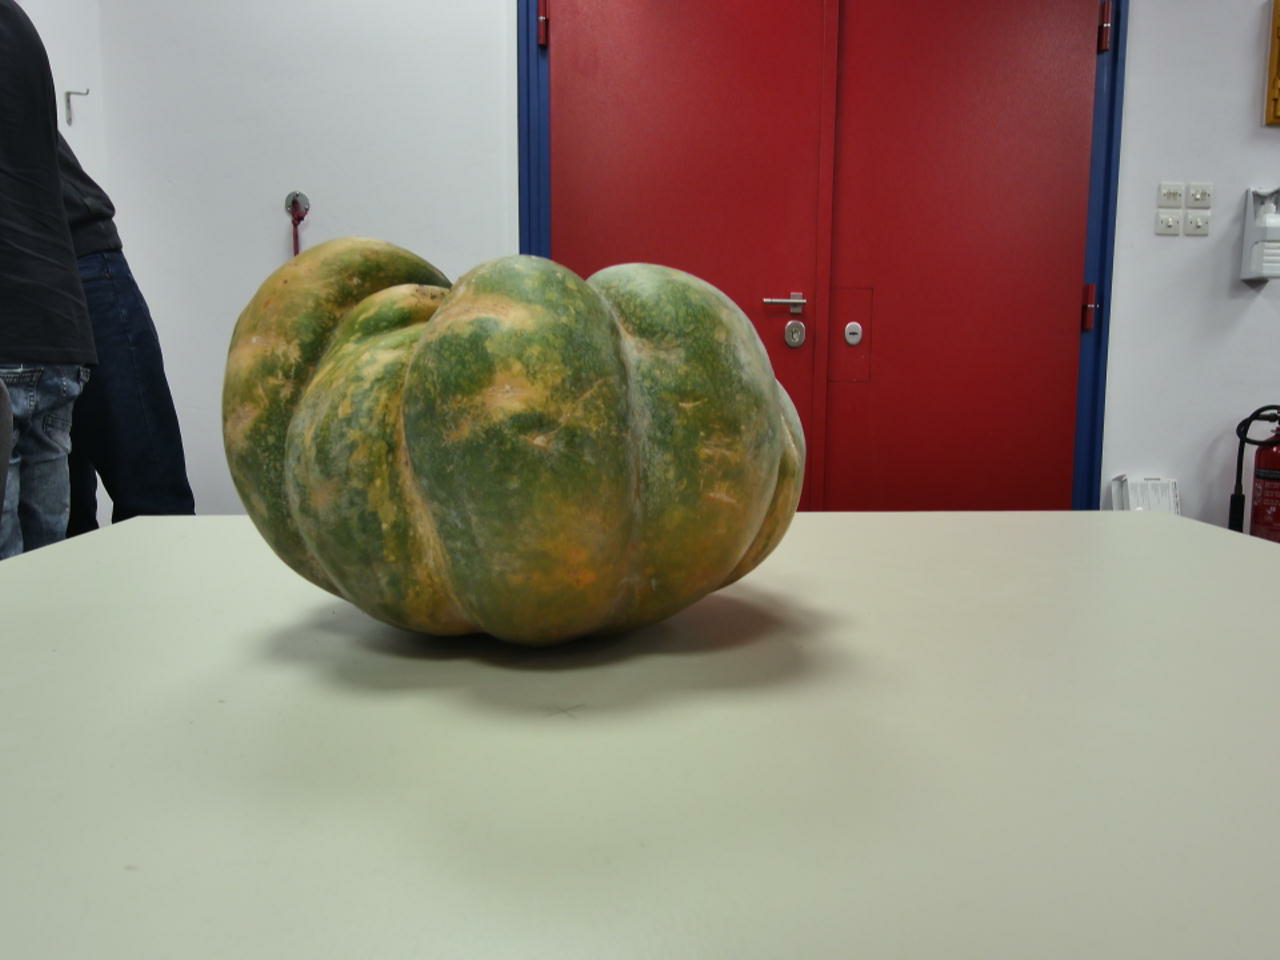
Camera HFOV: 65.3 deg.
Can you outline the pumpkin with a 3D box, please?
[{"bbox_3d":[-0.055,-0.019,0.463,0.270,0.173,0.237,3,5,36],"label":"pumpkin"}]
